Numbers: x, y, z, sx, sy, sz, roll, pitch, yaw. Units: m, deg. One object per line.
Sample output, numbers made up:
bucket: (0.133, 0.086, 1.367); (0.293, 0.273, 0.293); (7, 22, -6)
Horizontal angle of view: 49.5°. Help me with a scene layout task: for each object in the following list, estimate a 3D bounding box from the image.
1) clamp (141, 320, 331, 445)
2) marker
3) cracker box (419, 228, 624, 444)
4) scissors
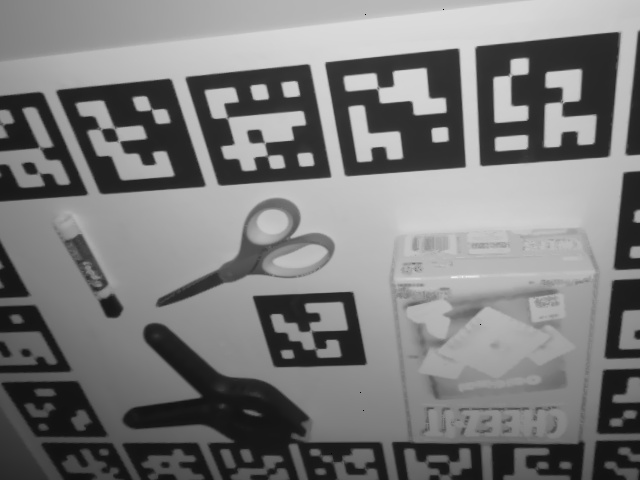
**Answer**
clamp: (-0.082, 0.179, 0.763); (0.203, 0.037, 0.163); (22, 125, -7)
marker: (-0.201, 0.028, 0.669); (0.019, 0.020, 0.120); (-6, 124, 12)
cracker box: (0.176, 0.095, 0.636); (0.164, 0.073, 0.212); (-2, 124, 9)
scissors: (-0.060, 0.025, 0.650); (0.200, 0.016, 0.088); (-28, 117, 26)
